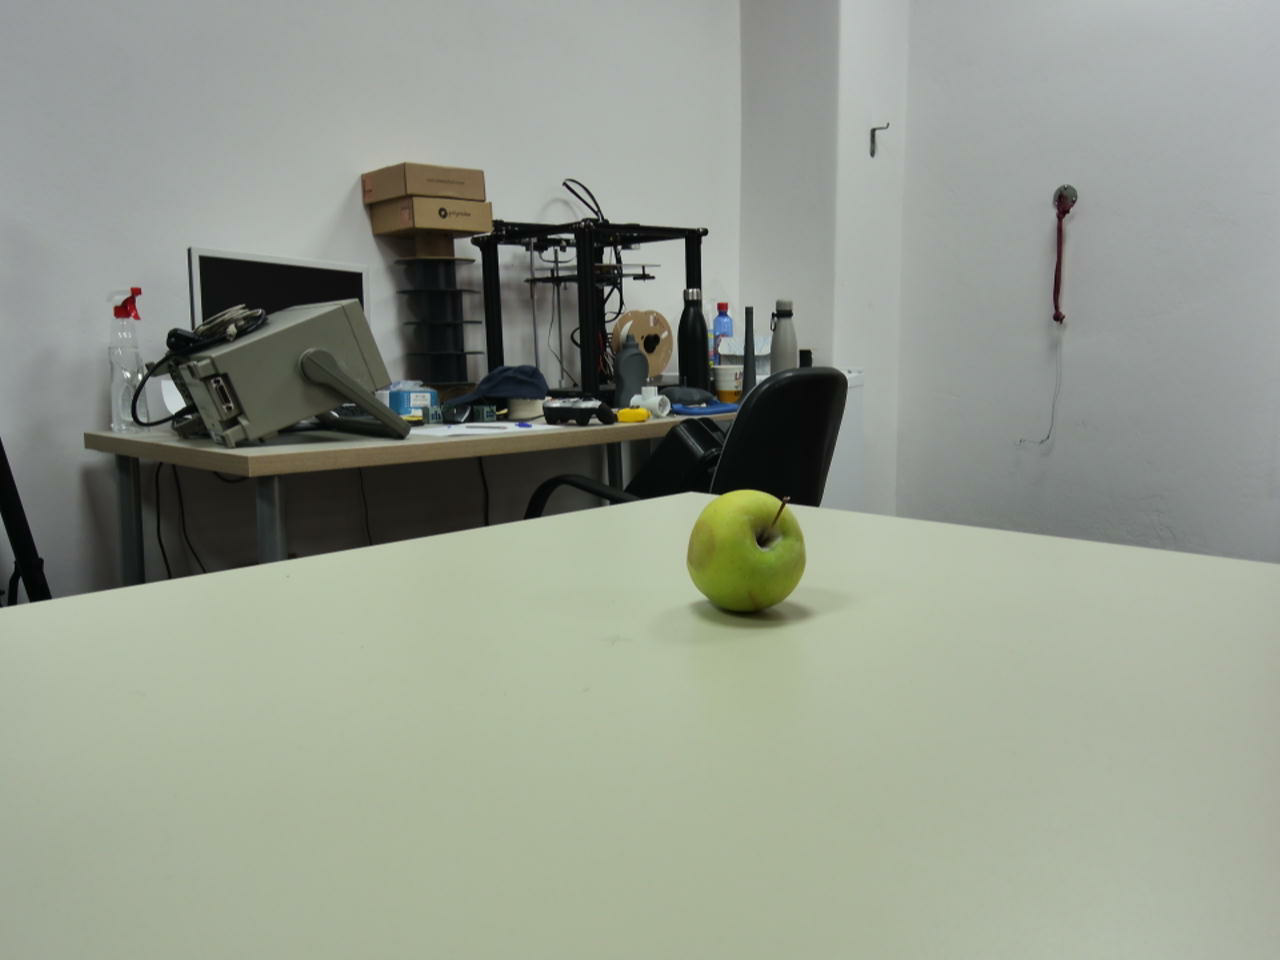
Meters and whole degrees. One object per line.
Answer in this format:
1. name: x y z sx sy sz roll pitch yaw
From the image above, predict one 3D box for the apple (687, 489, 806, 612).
1. apple: 0.067 0.044 0.626 0.072 0.075 0.077 0 6 1
